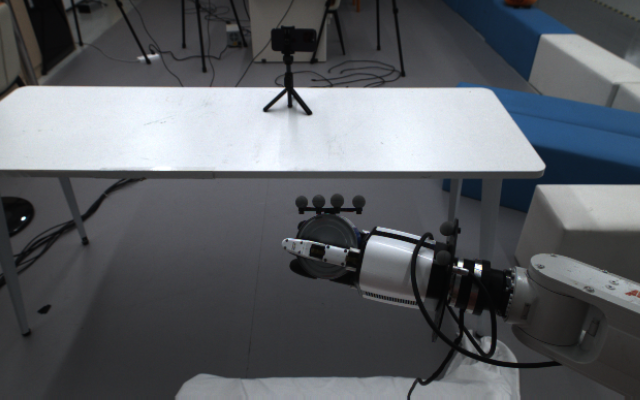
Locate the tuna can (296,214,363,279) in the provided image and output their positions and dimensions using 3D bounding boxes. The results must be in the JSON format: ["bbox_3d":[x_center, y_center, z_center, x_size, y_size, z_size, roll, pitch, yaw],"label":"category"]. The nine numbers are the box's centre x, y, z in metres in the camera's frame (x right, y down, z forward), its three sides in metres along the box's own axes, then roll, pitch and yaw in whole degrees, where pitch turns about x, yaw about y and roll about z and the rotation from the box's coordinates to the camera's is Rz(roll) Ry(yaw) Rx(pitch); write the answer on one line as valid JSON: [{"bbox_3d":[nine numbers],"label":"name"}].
[{"bbox_3d":[0.014,0.061,0.644,0.085,0.085,0.034,15,2,18],"label":"tuna can"}]
